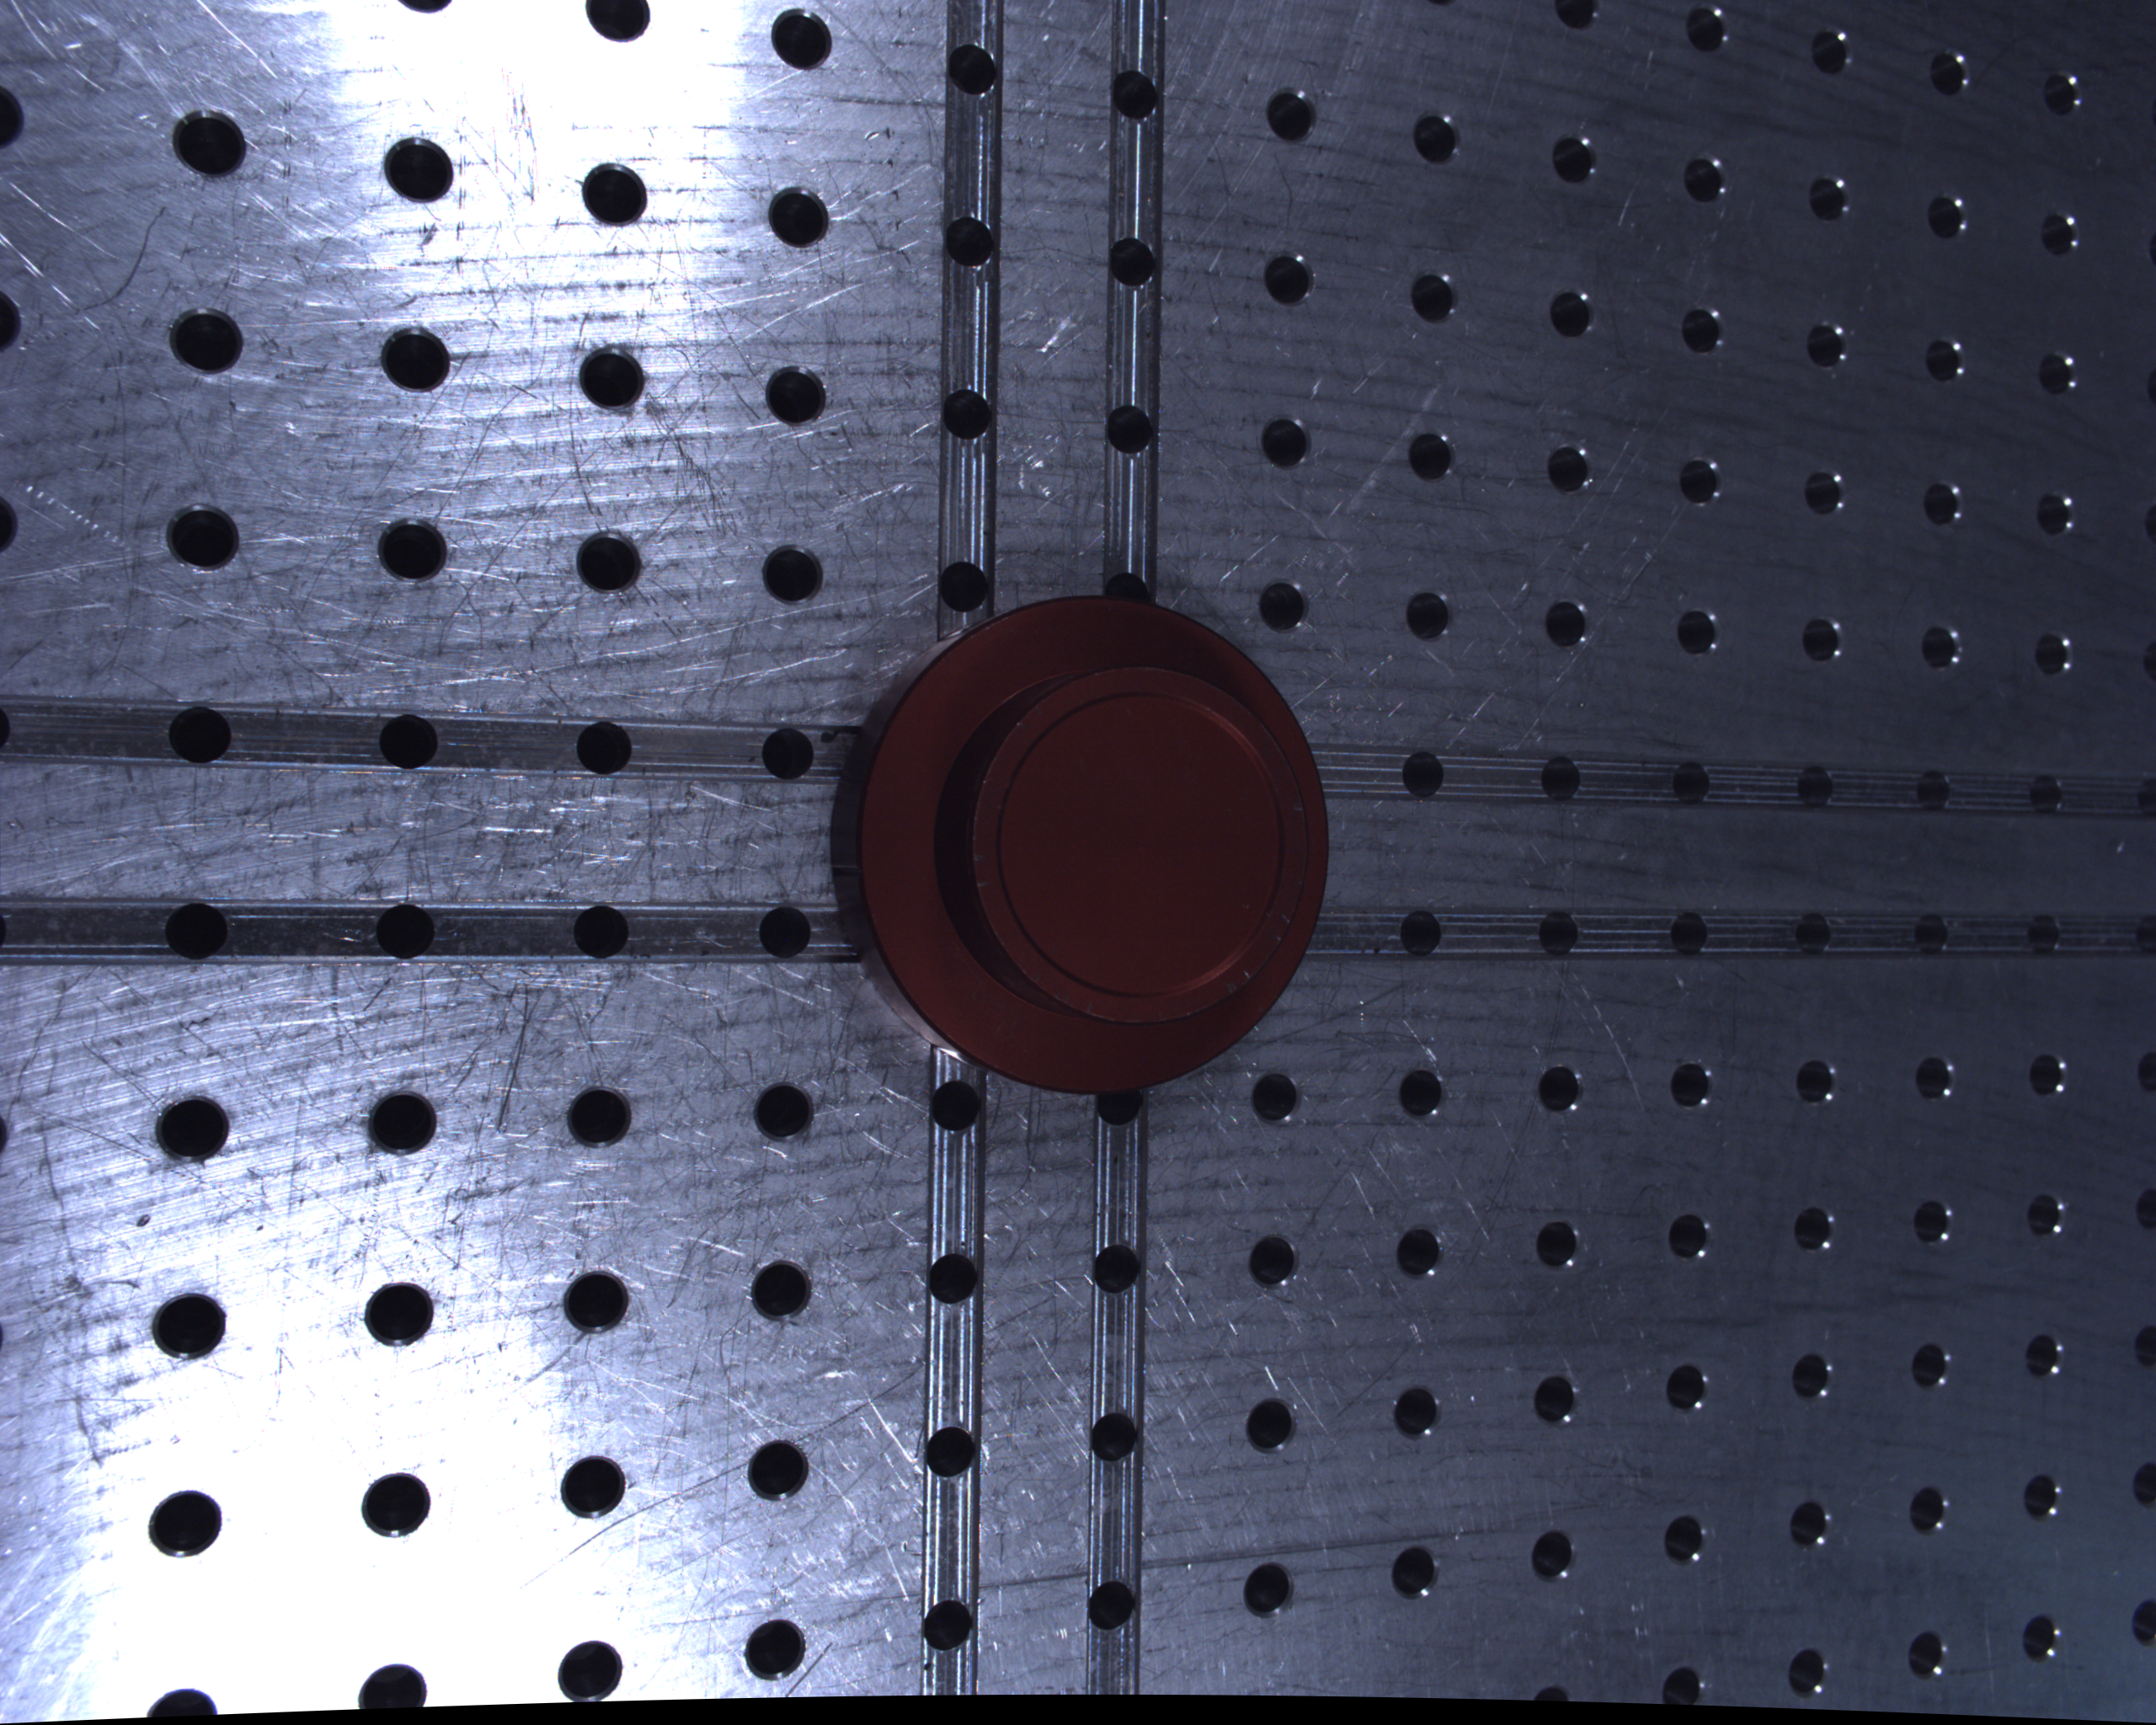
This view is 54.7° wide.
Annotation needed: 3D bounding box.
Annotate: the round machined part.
[{"bbox_3d":[0.005,-0.003,0.406,0.099,0.042,0.097,0,90,-21],"label":"round machined part"}]
